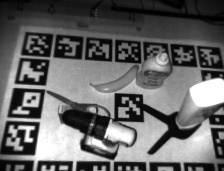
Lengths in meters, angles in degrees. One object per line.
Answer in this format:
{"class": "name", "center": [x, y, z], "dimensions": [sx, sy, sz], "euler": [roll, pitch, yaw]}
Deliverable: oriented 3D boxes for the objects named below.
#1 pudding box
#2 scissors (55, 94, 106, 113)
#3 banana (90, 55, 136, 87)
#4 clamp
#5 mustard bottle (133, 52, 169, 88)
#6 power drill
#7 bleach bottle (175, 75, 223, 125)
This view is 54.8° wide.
{"class": "pudding box", "center": [-0.114, 0.078, 0.672], "dimensions": [0.114, 0.090, 0.038], "euler": [7, 60, -4]}
{"class": "scissors", "center": [-0.117, 0.045, 0.615], "dimensions": [0.203, 0.016, 0.088], "euler": [28, 71, -1]}
{"class": "banana", "center": [0.020, -0.047, 0.763], "dimensions": [0.198, 0.039, 0.073], "euler": [-35, 58, -19]}
{"class": "clamp", "center": [0.198, 0.115, 0.710], "dimensions": [0.204, 0.036, 0.164], "euler": [-3, 70, -10]}
{"class": "mustard bottle", "center": [0.133, -0.054, 0.710], "dimensions": [0.096, 0.191, 0.058], "euler": [16, 66, 0]}
{"class": "power drill", "center": [-0.050, 0.127, 0.575], "dimensions": [0.184, 0.187, 0.057], "euler": [14, 59, 2]}
{"class": "bleach bottle", "center": [0.243, 0.061, 0.624], "dimensions": [0.103, 0.252, 0.067], "euler": [-17, 65, -5]}
